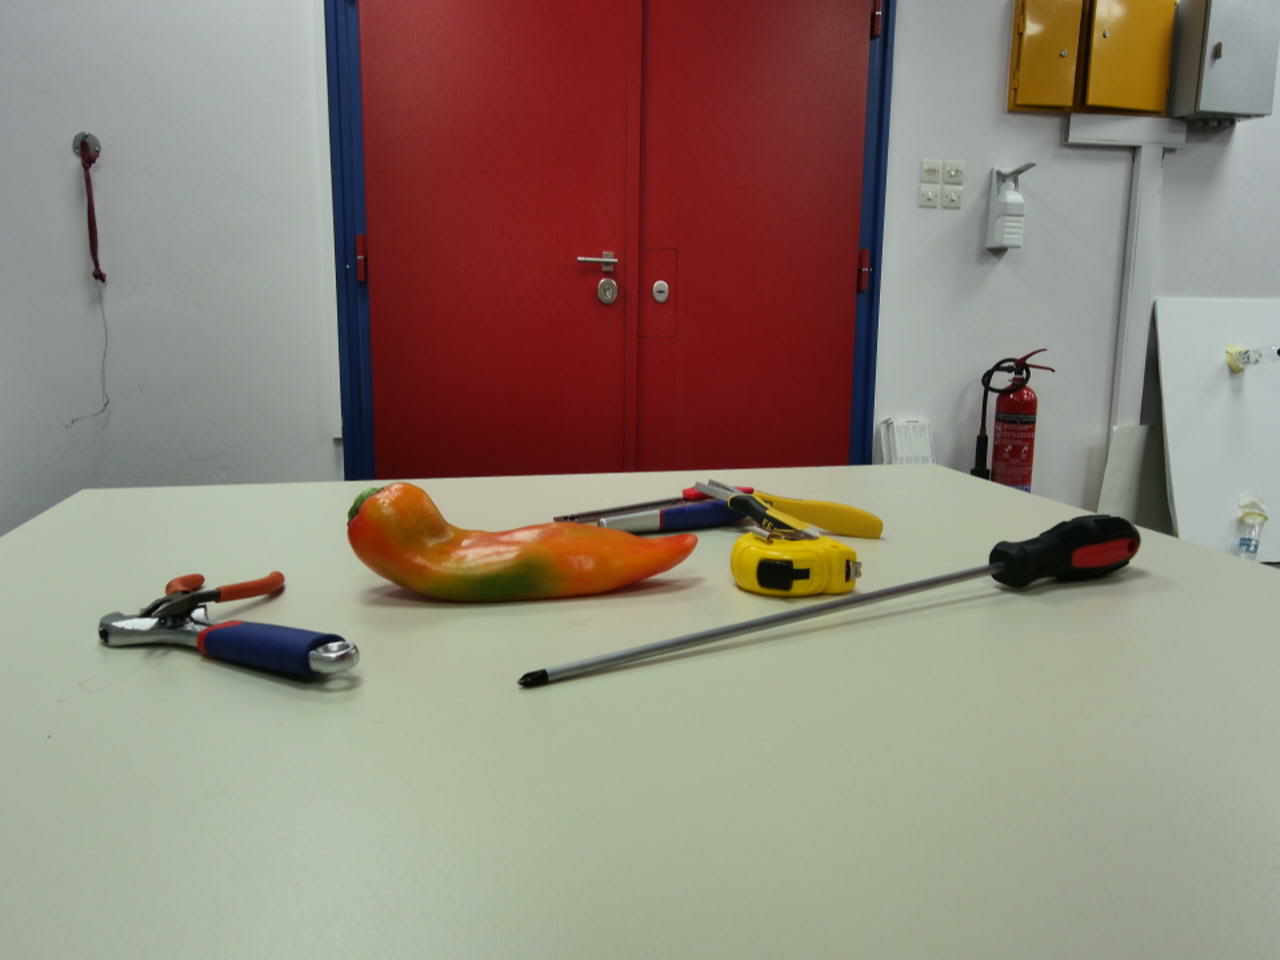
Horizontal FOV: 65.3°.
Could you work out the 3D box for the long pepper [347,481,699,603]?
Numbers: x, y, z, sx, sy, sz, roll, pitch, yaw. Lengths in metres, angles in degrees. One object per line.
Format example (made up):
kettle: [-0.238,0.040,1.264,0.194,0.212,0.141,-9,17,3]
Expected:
long pepper: [-0.063,0.032,0.566,0.199,0.065,0.066,-1,8,-8]
